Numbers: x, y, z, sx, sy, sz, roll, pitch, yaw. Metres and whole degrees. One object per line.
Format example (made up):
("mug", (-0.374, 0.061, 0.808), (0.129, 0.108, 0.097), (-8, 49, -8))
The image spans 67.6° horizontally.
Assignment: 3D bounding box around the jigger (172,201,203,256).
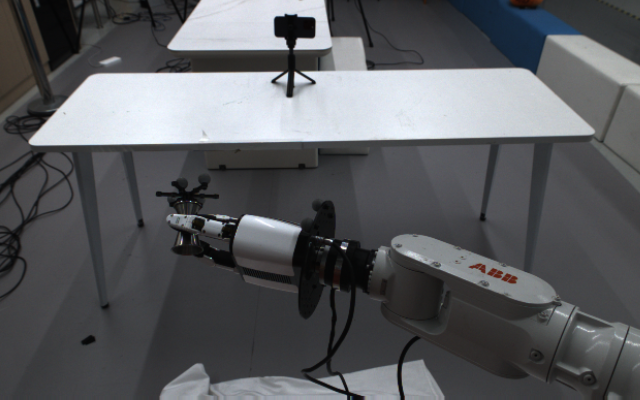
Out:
("jigger", (-0.188, 0.040, 0.688), (0.043, 0.043, 0.071), (-3, 67, -8))
